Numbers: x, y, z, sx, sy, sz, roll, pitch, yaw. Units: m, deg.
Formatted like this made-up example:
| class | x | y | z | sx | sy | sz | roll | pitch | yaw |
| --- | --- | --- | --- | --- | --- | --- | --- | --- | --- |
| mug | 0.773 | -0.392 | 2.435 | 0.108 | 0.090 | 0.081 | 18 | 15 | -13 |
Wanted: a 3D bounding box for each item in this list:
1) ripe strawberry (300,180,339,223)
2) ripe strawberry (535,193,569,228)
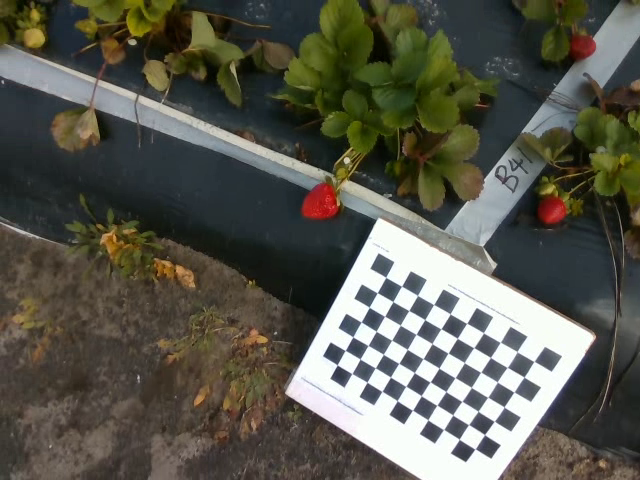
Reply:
| class | x | y | z | sx | sy | sz | roll | pitch | yaw |
| --- | --- | --- | --- | --- | --- | --- | --- | --- | --- |
| ripe strawberry | -0.003 | -0.042 | 0.665 | 0.052 | 0.048 | 0.030 | -25 | 5 | -8 |
| ripe strawberry | 0.263 | -0.030 | 0.650 | 0.047 | 0.037 | 0.030 | -45 | -4 | -37 |
